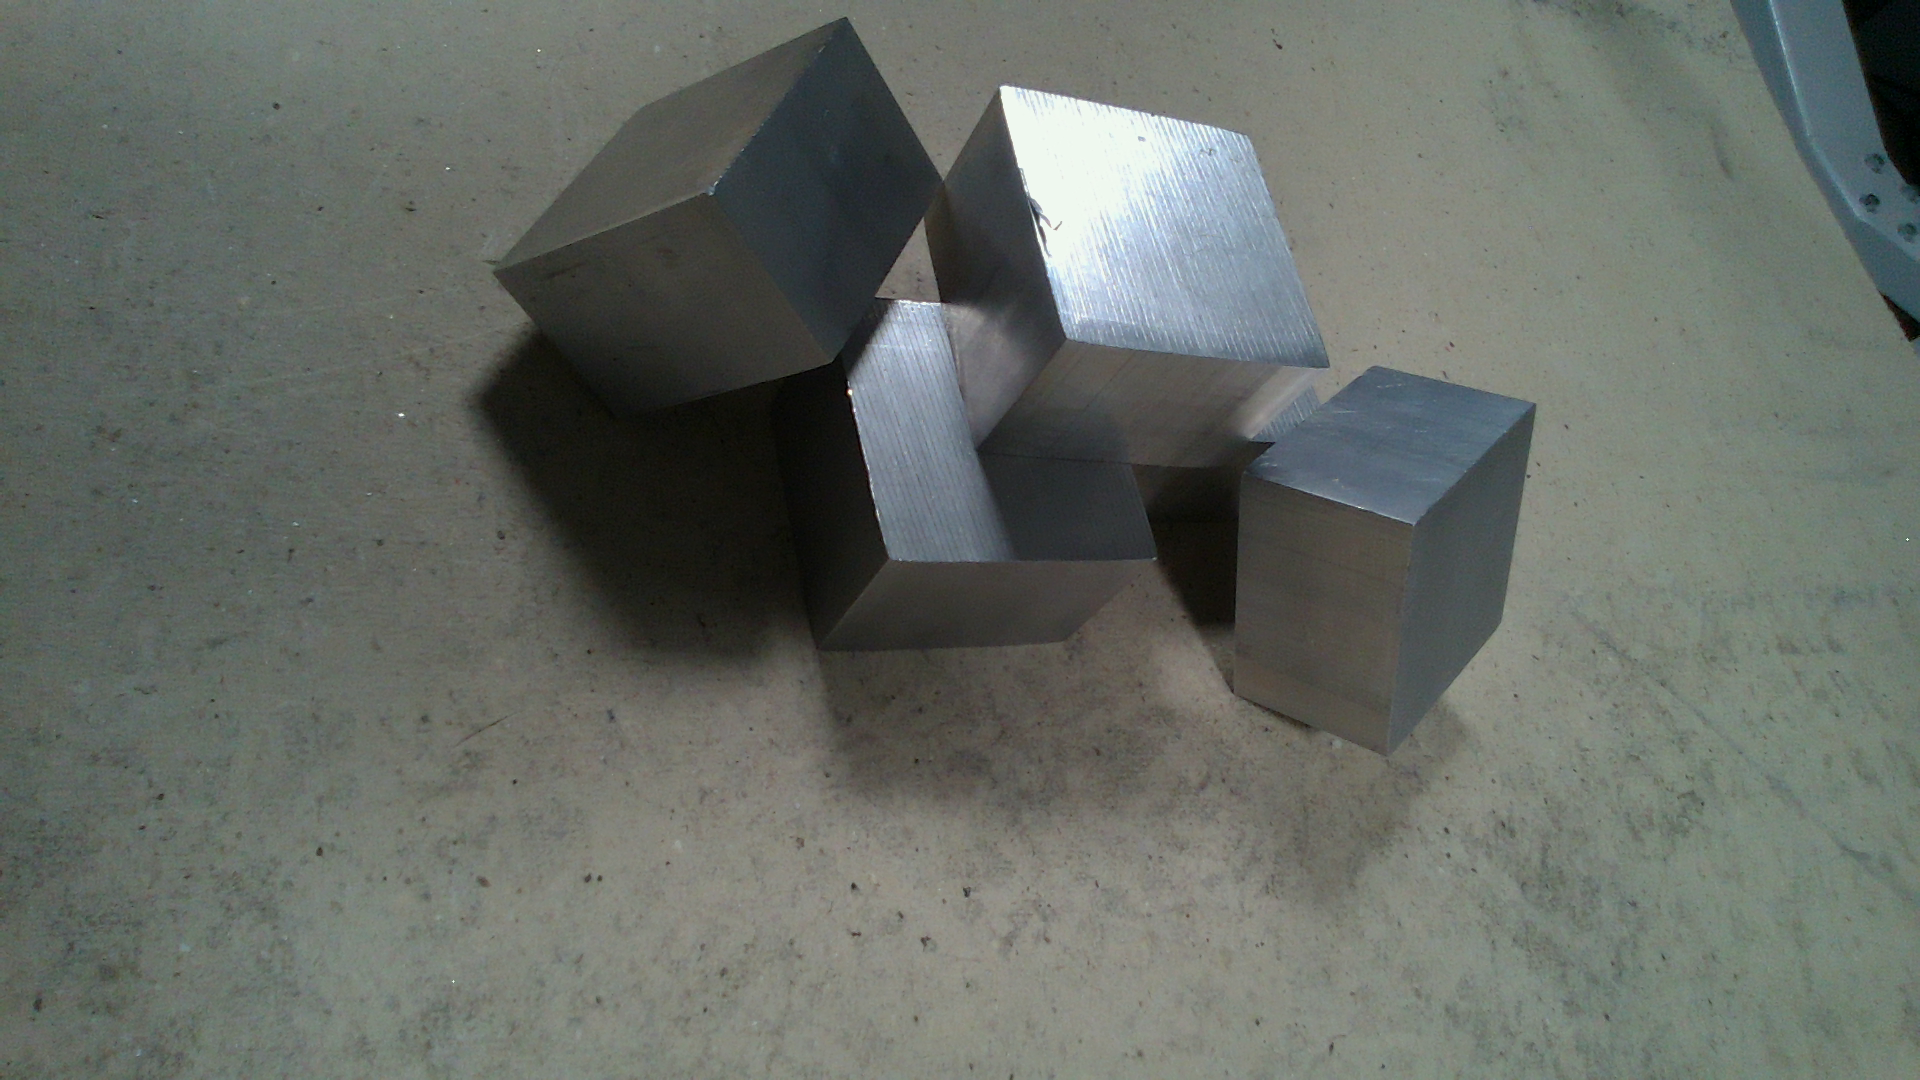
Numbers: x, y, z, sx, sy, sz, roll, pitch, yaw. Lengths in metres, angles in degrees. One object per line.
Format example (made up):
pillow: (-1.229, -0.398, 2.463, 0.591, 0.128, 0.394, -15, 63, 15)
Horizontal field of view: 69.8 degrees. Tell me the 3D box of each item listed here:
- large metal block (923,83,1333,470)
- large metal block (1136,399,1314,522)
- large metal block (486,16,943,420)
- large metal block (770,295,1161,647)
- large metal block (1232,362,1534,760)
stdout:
large metal block: (0.042, -0.068, 0.371, 0.080, 0.050, 0.080, 2, 61, -27)
large metal block: (0.059, -0.053, 0.439, 0.080, 0.050, 0.080, 0, 62, -28)
large metal block: (-0.062, -0.083, 0.363, 0.050, 0.080, 0.080, 55, 43, -33)
large metal block: (-0.001, -0.018, 0.382, 0.080, 0.050, 0.080, 0, 62, -28)
large metal block: (0.125, 0.004, 0.411, 0.050, 0.080, 0.080, 21, 41, 35)
